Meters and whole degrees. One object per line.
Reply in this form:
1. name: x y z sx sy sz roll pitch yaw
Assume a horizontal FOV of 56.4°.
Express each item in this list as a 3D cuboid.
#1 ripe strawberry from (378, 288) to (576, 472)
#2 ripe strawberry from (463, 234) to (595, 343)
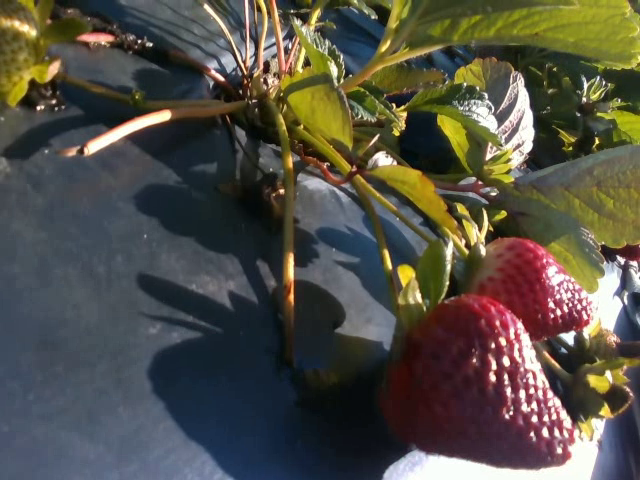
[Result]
1. ripe strawberry: 0.042 0.038 0.146 0.050 0.045 0.050 31 9 28
2. ripe strawberry: 0.075 0.019 0.209 0.049 0.042 0.039 20 -26 7
